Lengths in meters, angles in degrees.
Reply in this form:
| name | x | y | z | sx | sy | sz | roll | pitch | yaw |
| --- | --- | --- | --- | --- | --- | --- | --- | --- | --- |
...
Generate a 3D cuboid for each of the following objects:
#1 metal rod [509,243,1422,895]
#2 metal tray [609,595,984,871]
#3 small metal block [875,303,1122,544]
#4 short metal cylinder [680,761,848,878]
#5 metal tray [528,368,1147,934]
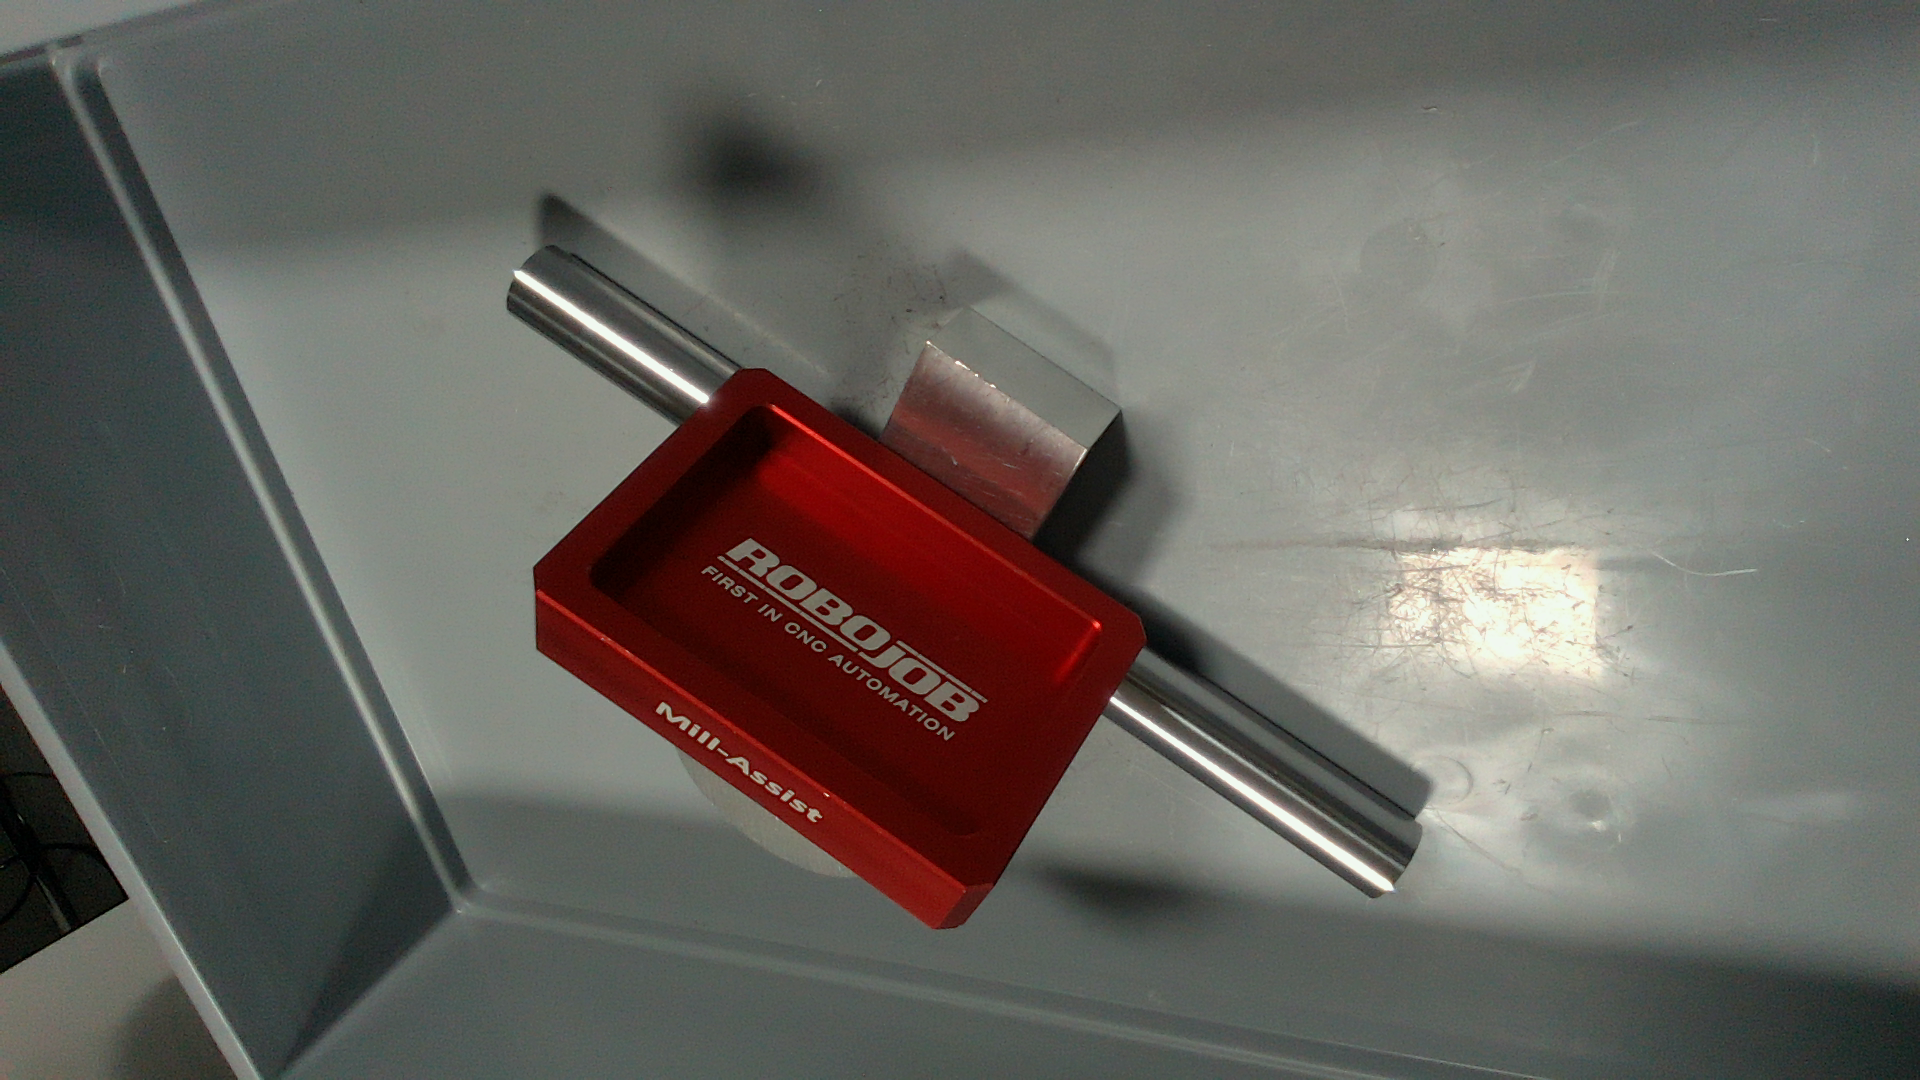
| name | x | y | z | sx | sy | sz | roll | pitch | yaw |
| --- | --- | --- | --- | --- | --- | --- | --- | --- | --- |
| metal rod | -0.003 | 0.005 | 0.398 | 0.300 | 0.025 | 0.025 | 34 | 129 | 6 |
| metal tray | -0.032 | 0.037 | 0.390 | 0.130 | 0.090 | 0.030 | 34 | 129 | 6 |
| small metal block | 0.007 | -0.026 | 0.371 | 0.050 | 0.025 | 0.050 | 35 | 129 | 5 |
| short metal cylinder | -0.042 | 0.058 | 0.427 | 0.080 | 0.050 | 0.080 | 19 | 134 | 21 |
| metal tray | -0.030 | 0.024 | 0.347 | 0.130 | 0.090 | 0.030 | 34 | 146 | 6 |
